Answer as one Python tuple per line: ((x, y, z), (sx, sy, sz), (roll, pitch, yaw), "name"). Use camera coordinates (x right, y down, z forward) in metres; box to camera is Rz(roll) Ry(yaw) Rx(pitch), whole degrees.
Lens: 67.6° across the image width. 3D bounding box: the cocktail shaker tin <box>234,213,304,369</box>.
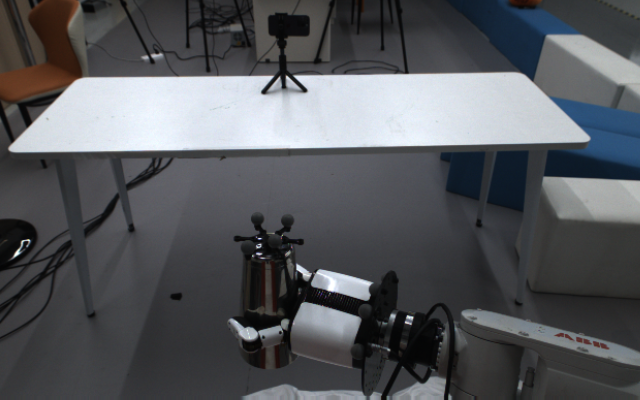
((-0.066, 0.133, 0.657), (0.093, 0.170, 0.093), (2, 28, -1), "cocktail shaker tin")
